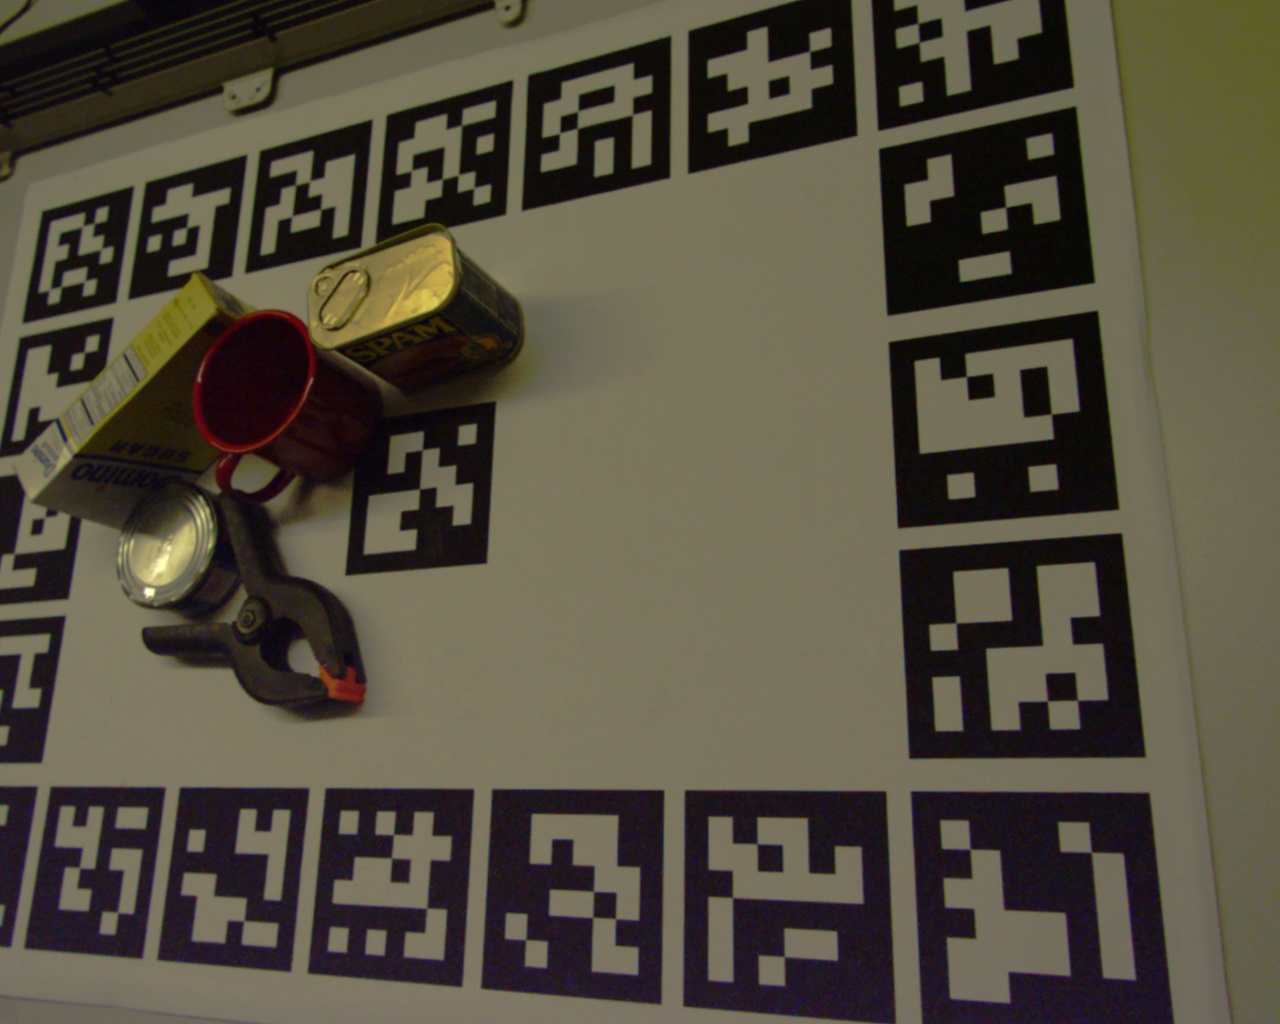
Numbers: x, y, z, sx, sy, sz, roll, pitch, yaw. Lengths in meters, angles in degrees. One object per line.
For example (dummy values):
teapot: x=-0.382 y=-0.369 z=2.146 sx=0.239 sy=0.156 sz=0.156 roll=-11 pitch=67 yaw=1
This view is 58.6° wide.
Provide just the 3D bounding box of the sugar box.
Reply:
sugar box: x=-0.322 y=-0.035 z=0.773 sx=0.177 sy=0.092 sz=0.046 roll=-42 pitch=63 yaw=7

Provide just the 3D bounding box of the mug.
mug: x=-0.238 y=-0.030 z=0.730 sx=0.094 sy=0.080 sz=0.117 roll=21 pitch=87 yaw=26

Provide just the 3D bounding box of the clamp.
clamp: x=-0.242 y=0.102 z=0.732 sx=0.167 sy=0.036 sz=0.122 roll=32 pitch=87 yaw=23

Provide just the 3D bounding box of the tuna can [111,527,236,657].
tuna can: x=-0.316 y=0.055 z=0.772 sx=0.086 sy=0.033 sz=0.086 roll=-6 pitch=76 yaw=23

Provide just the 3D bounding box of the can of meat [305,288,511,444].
can of meat: x=-0.142 y=-0.087 z=0.711 sx=0.102 sy=0.083 sz=0.058 roll=-14 pitch=70 yaw=19
